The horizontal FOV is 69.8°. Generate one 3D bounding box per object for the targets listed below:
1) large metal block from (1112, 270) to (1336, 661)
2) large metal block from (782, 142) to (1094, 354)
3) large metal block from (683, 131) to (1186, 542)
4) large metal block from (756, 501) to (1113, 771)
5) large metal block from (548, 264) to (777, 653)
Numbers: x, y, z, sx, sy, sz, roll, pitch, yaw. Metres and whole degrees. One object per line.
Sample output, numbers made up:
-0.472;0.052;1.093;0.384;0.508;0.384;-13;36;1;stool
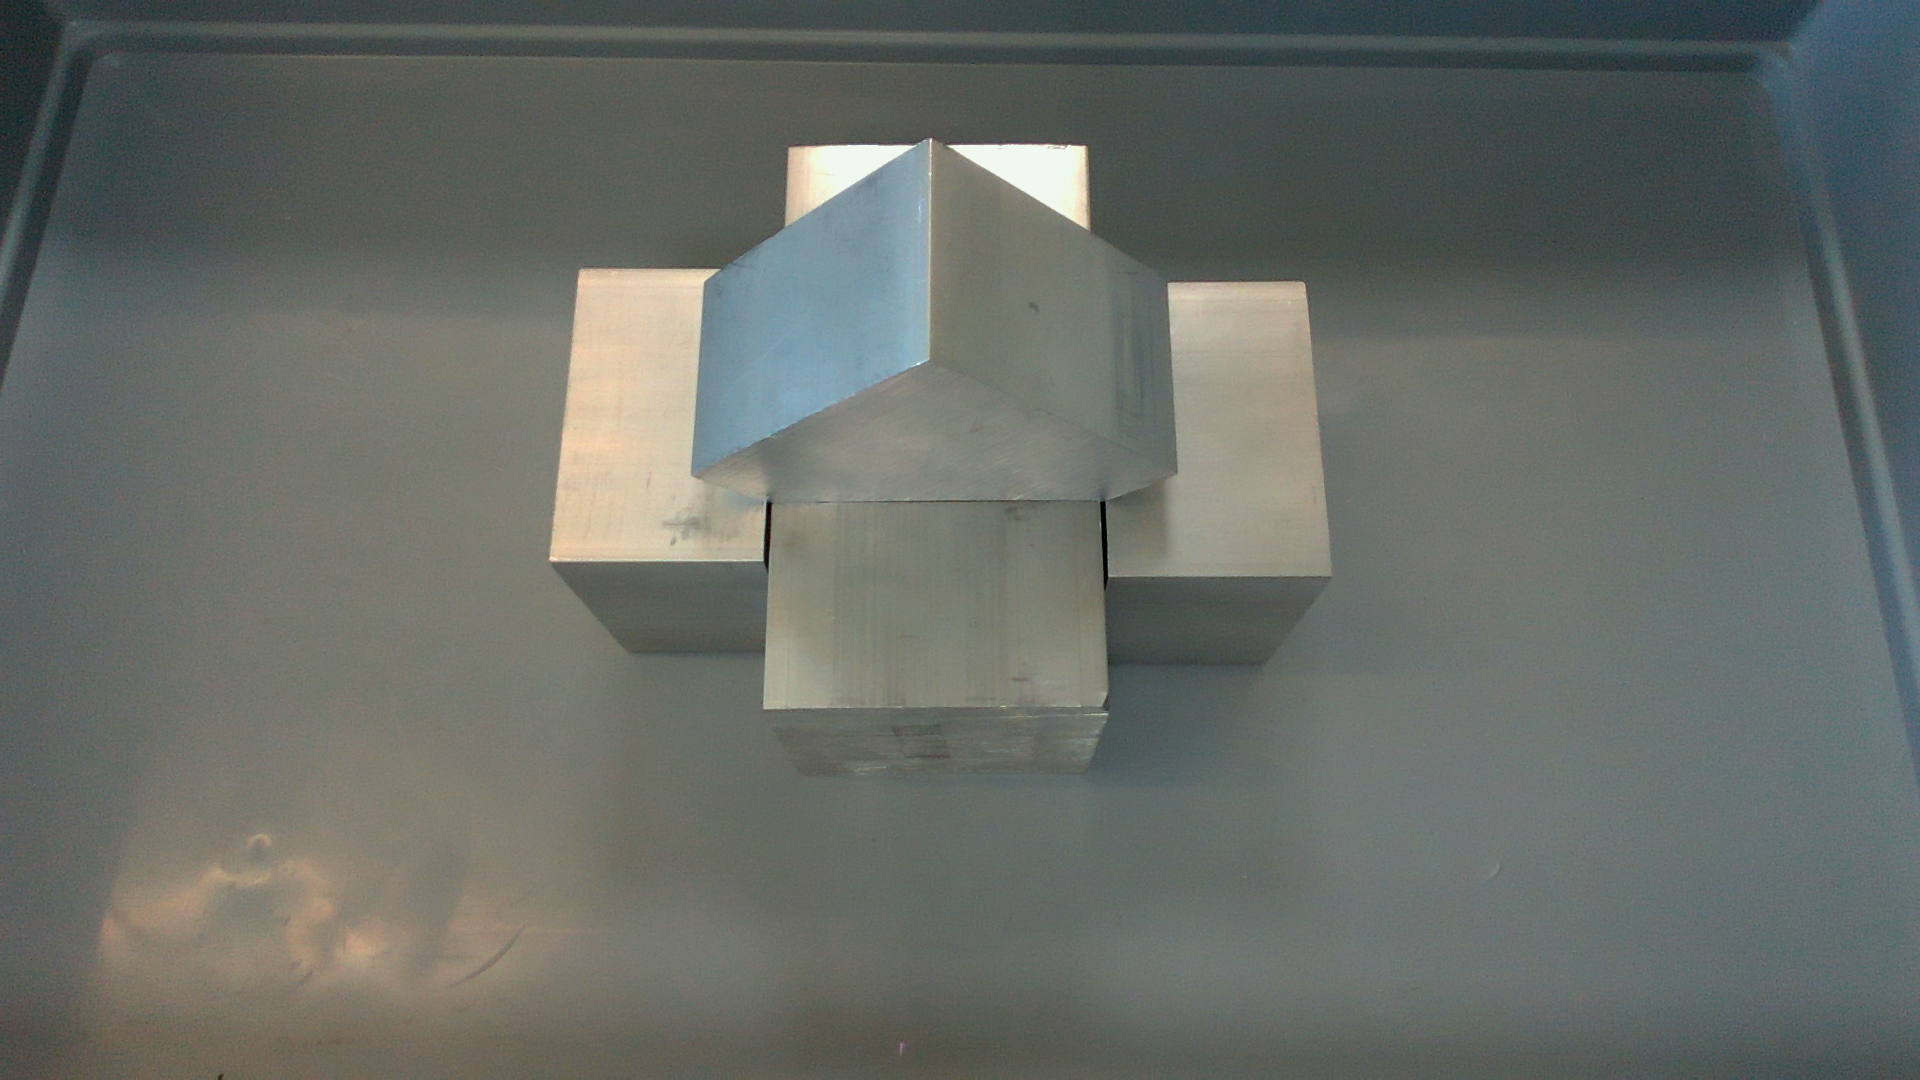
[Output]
0.062;-0.016;0.369;0.050;0.080;0.080;0;70;0;large metal block
-0.006;-0.067;0.389;0.080;0.080;0.050;0;70;0;large metal block
-0.006;-0.038;0.318;0.080;0.080;0.050;19;62;-42;large metal block
-0.005;0.028;0.354;0.080;0.080;0.050;0;70;0;large metal block
-0.071;-0.019;0.372;0.050;0.080;0.080;0;70;0;large metal block
